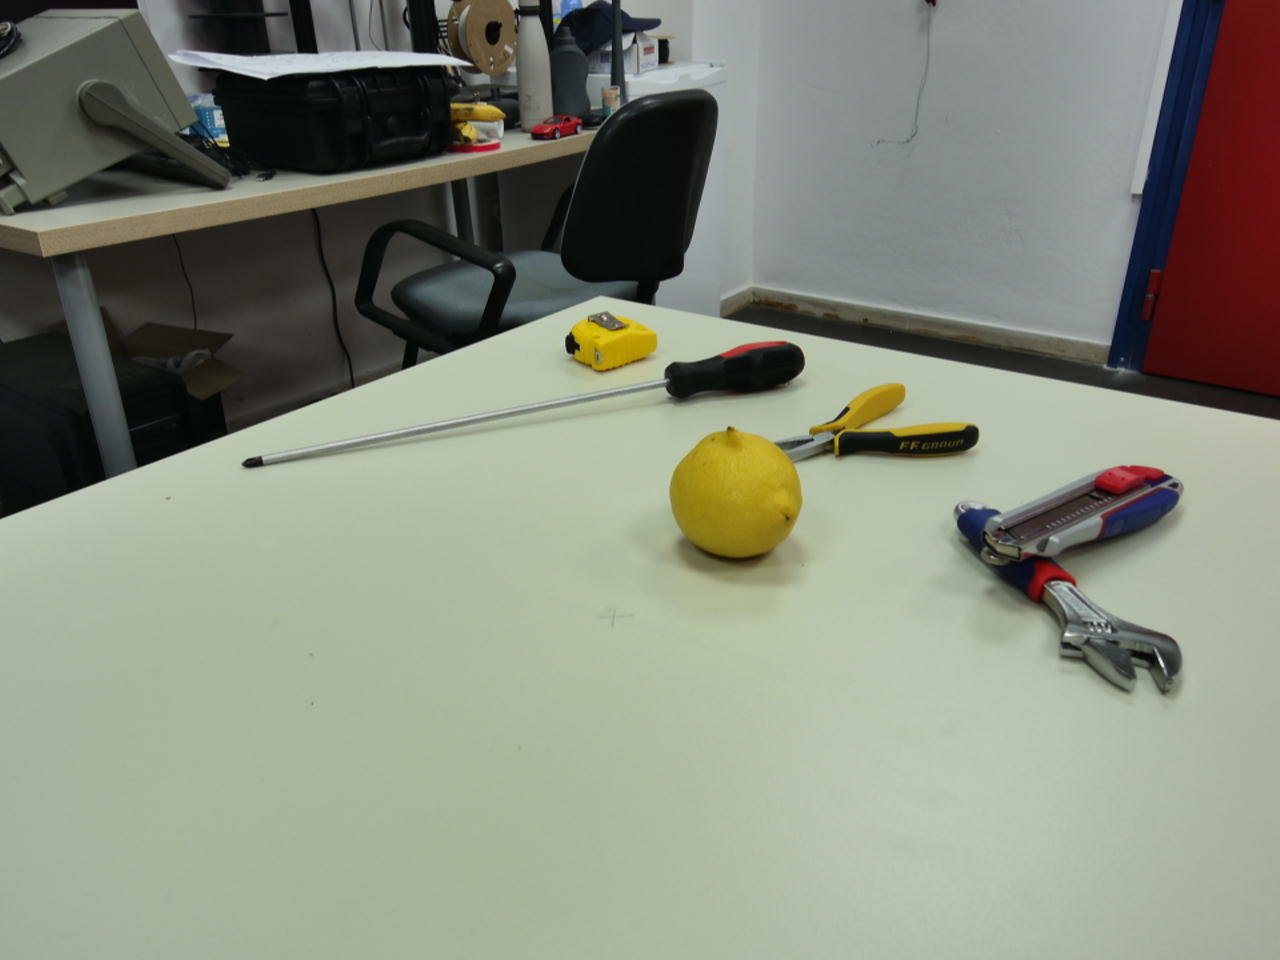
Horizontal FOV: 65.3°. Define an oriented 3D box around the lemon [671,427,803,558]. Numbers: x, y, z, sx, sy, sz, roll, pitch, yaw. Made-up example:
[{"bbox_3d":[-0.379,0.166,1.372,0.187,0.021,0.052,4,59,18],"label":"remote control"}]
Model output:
[{"bbox_3d":[0.051,0.005,0.537,0.070,0.071,0.071,1,24,3],"label":"lemon"}]
